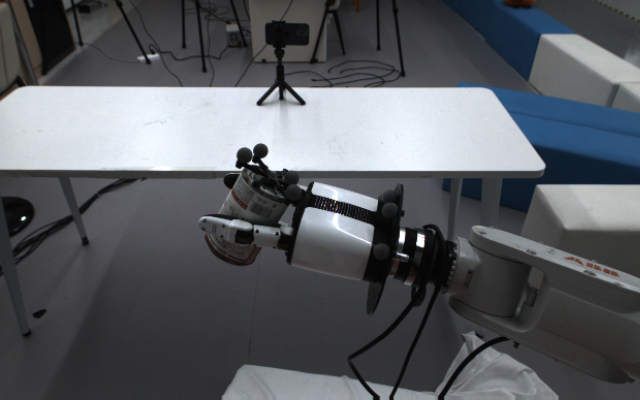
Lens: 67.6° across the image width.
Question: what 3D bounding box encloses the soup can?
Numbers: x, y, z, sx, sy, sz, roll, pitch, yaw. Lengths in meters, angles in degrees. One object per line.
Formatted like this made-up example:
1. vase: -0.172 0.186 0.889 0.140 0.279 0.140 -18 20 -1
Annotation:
1. soup can: -0.082 0.019 0.571 0.067 0.101 0.067 29 21 -12
